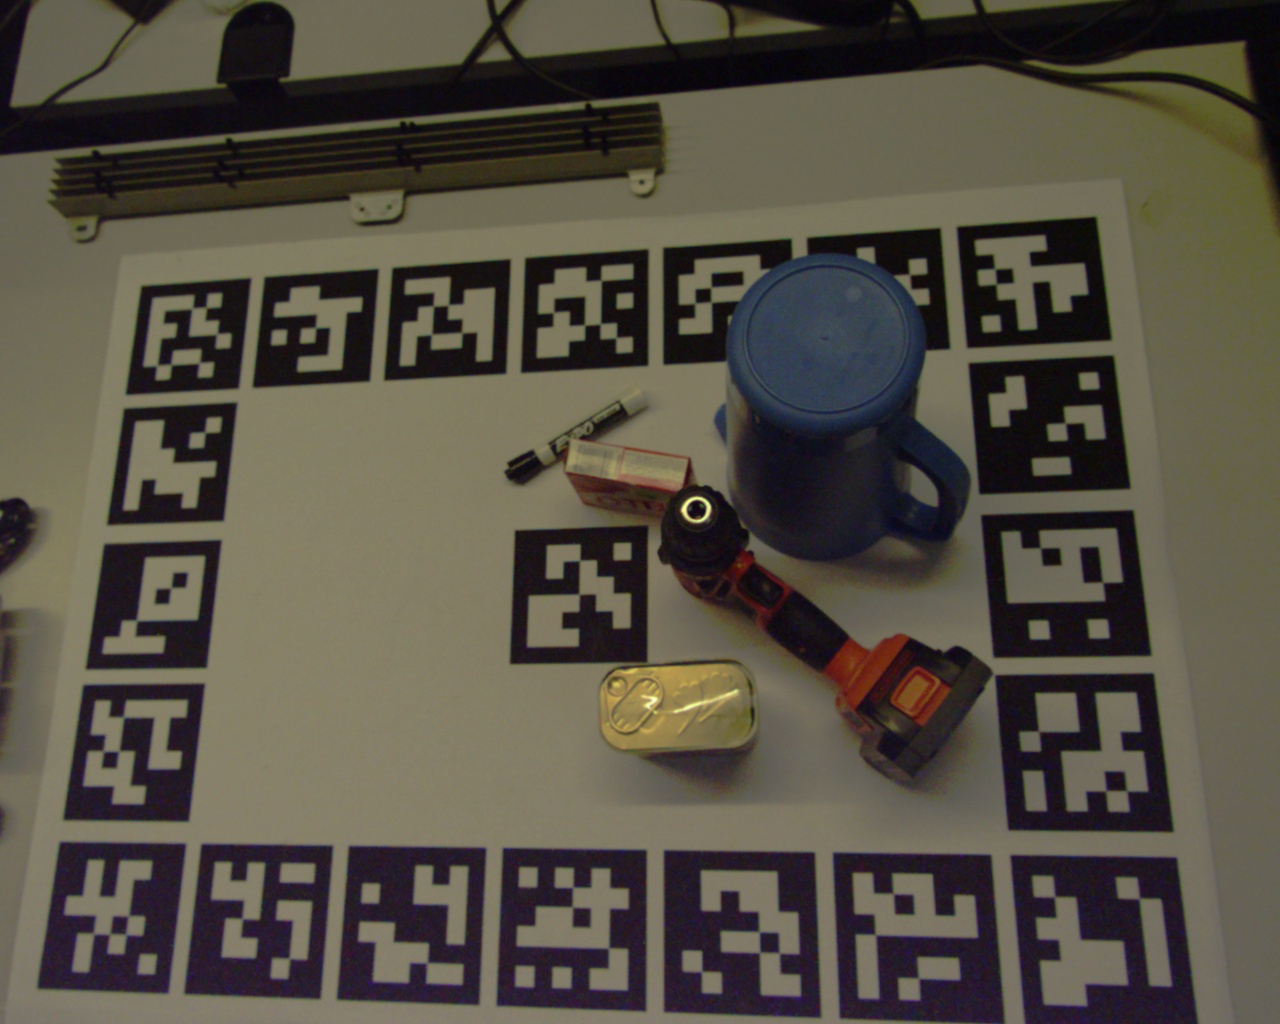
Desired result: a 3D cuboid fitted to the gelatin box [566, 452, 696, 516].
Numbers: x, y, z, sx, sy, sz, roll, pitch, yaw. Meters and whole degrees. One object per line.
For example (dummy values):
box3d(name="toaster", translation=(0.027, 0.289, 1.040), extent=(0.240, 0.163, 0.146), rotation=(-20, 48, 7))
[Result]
box3d(name="gelatin box", translation=(-0.005, -0.017, 0.850), extent=(0.090, 0.073, 0.030), rotation=(9, 80, 10))

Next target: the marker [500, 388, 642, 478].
box3d(name="marker", translation=(-0.056, -0.061, 0.895), extent=(0.121, 0.019, 0.020), rotation=(-28, 73, 2))

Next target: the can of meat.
box3d(name="can of meat", translation=(0.023, 0.138, 0.793), extent=(0.102, 0.083, 0.058), rotation=(-3, 72, 8))

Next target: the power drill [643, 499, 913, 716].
box3d(name="power drill", translation=(0.084, 0.061, 0.756), extent=(0.188, 0.184, 0.057), rotation=(33, 84, 10))

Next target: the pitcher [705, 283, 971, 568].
box3d(name="pitcher", translation=(0.128, -0.047, 0.755), extent=(0.191, 0.240, 0.133), rotation=(30, 84, 22))
